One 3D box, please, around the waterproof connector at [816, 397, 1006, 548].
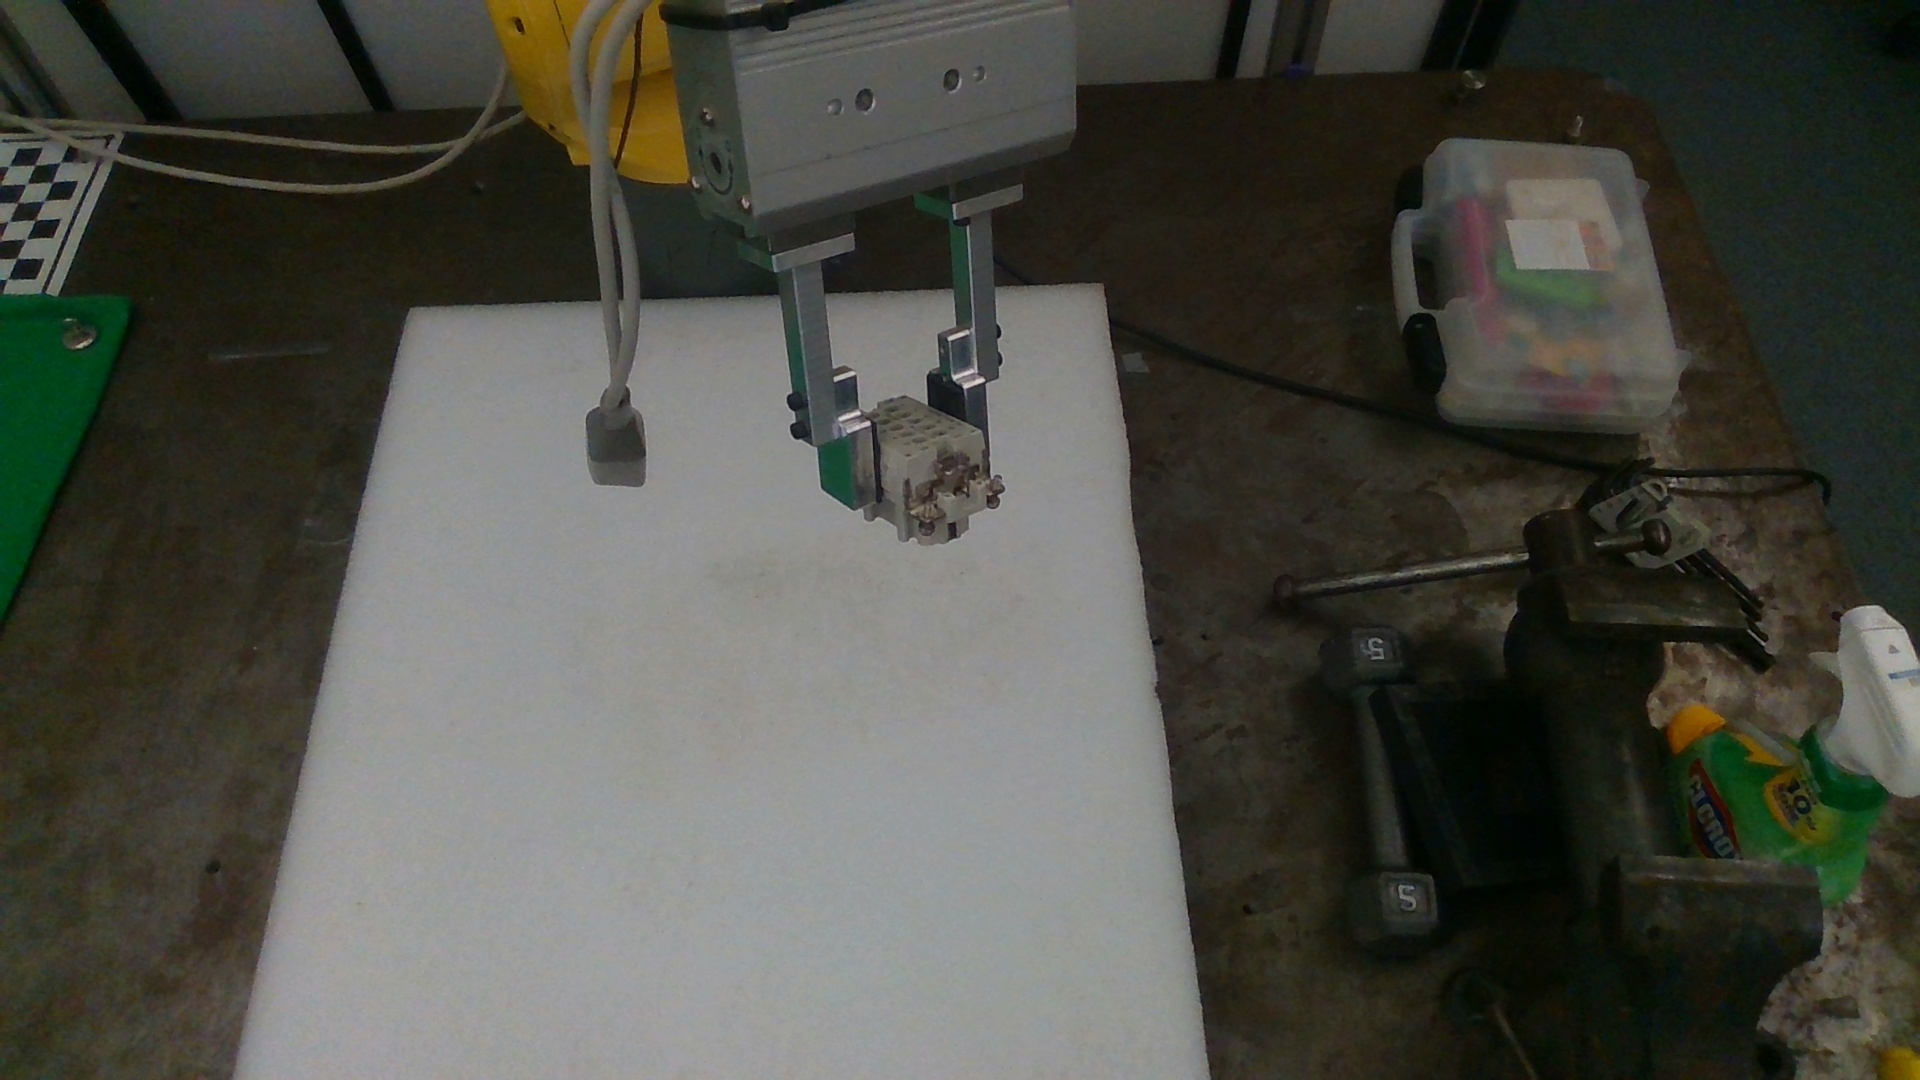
[{"bbox_3d":[-0.017,-0.023,0.474,0.036,0.038,0.069,-21,30,-35],"label":"waterproof connector"}]
